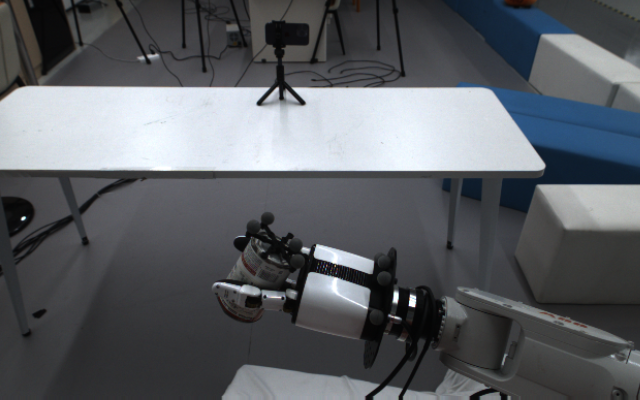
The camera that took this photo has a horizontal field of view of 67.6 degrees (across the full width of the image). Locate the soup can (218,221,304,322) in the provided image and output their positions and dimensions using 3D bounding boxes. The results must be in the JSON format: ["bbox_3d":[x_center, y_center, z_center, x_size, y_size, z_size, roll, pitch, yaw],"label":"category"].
[{"bbox_3d":[-0.079,0.100,0.628,0.067,0.101,0.067,28,22,-12],"label":"soup can"}]
